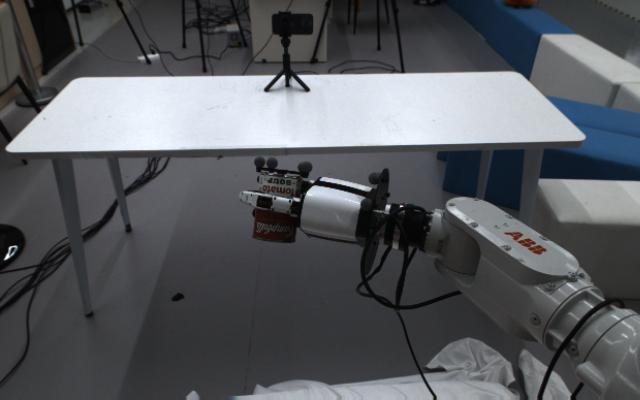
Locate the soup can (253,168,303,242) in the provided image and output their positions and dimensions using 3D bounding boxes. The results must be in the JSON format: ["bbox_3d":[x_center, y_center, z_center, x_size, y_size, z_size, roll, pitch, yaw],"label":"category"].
[{"bbox_3d":[-0.065,0.011,0.743,0.067,0.101,0.067,7,3,0],"label":"soup can"}]
